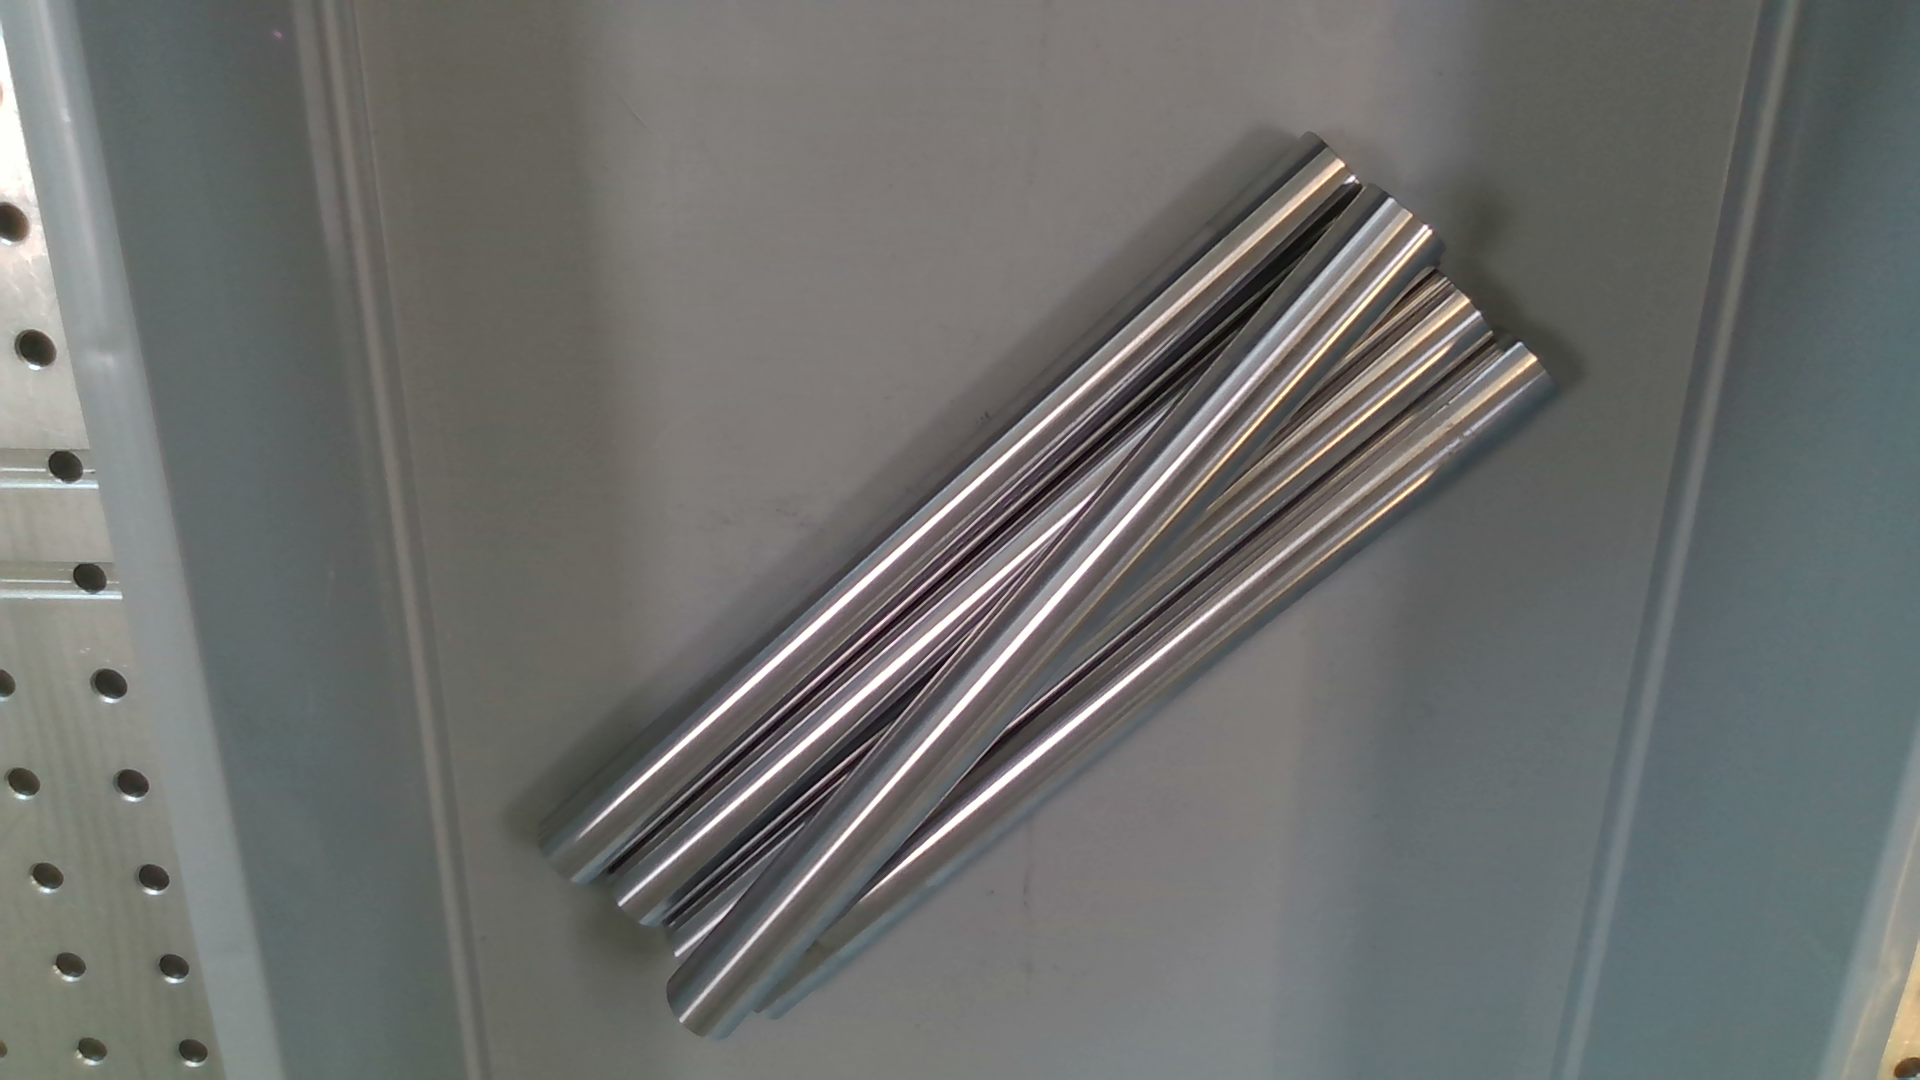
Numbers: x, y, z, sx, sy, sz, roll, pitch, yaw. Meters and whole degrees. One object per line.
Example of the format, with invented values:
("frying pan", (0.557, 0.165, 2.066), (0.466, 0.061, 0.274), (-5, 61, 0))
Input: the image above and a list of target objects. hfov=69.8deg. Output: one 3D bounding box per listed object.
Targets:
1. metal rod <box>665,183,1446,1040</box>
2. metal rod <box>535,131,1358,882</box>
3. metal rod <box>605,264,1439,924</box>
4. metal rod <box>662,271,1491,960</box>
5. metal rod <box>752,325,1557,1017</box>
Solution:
("metal rod", (0.015, 0.031, 0.377), (0.025, 0.025, 0.300), (37, 106, -12))
("metal rod", (-0.012, 0.000, 0.392), (0.300, 0.025, 0.025), (-41, 105, 14))
("metal rod", (0.008, 0.014, 0.398), (0.300, 0.025, 0.025), (-41, 105, 14))
("metal rod", (0.024, 0.032, 0.404), (0.300, 0.025, 0.025), (-41, 105, 14))
("metal rod", (0.044, 0.047, 0.410), (0.300, 0.025, 0.025), (-41, 105, 14))
